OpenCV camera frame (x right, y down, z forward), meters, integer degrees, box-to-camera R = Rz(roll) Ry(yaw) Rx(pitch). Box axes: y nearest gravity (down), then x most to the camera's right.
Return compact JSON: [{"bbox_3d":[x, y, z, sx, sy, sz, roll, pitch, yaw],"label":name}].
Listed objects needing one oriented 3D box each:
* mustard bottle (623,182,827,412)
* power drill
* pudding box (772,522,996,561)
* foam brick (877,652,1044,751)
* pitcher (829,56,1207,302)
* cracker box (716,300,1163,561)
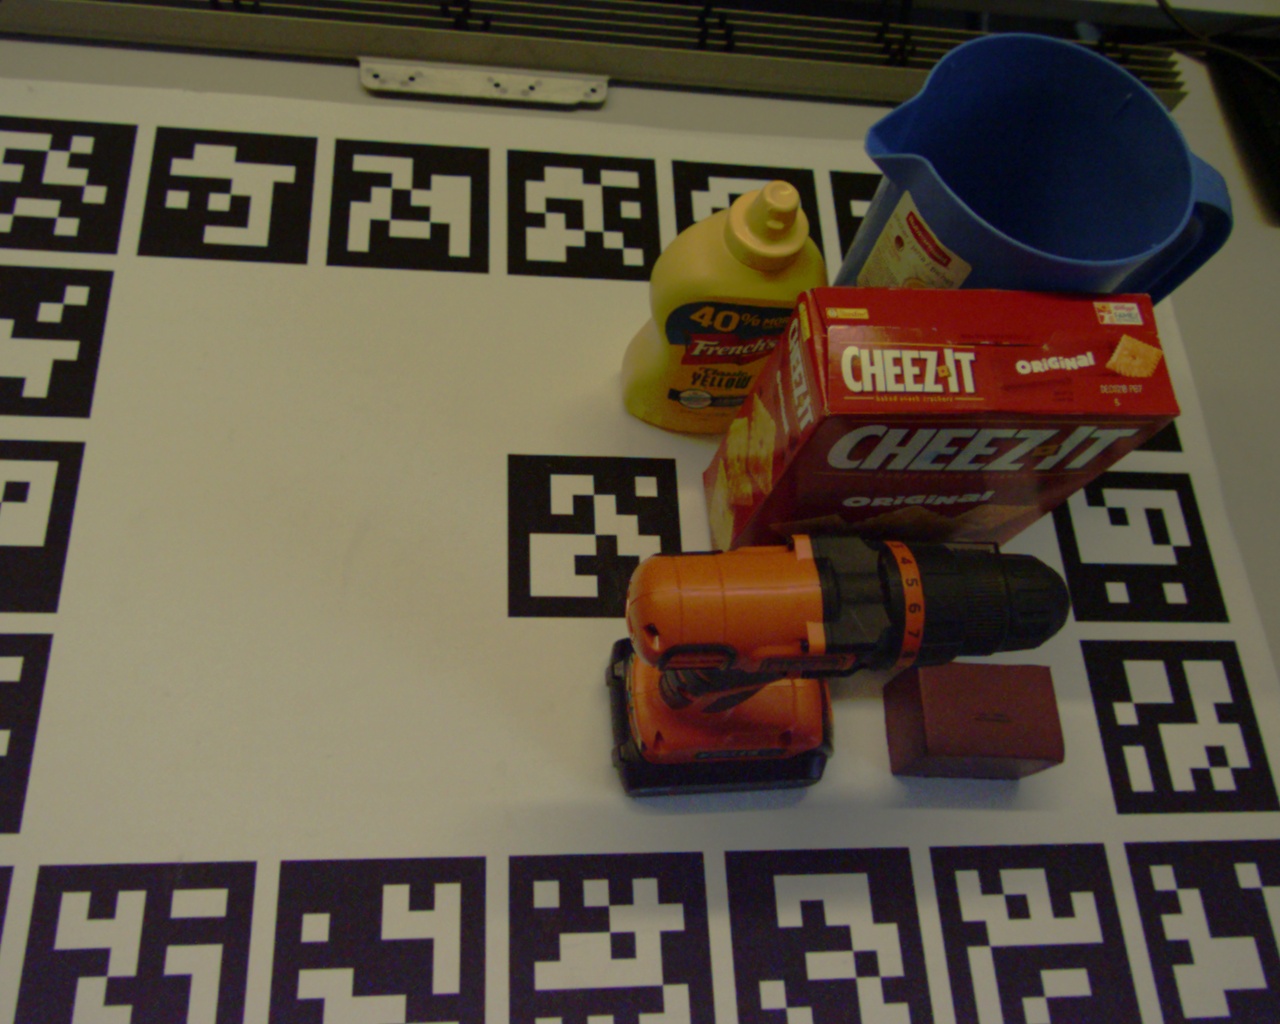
[{"bbox_3d":[0.051,-0.121,0.640,0.096,0.192,0.058,13,69,-5],"label":"mustard bottle"},{"bbox_3d":[0.084,0.070,0.547,0.183,0.187,0.057,0,66,-11],"label":"power drill"},{"bbox_3d":[0.129,0.037,0.642,0.113,0.090,0.039,1,68,-7],"label":"pudding box"},{"bbox_3d":[0.183,0.109,0.659,0.078,0.051,0.053,3,70,-9],"label":"foam brick"},{"bbox_3d":[0.184,-0.124,0.651,0.188,0.243,0.133,6,68,-6],"label":"pitcher"},{"bbox_3d":[0.143,-0.027,0.611,0.163,0.214,0.072,-2,68,-9],"label":"cracker box"}]
